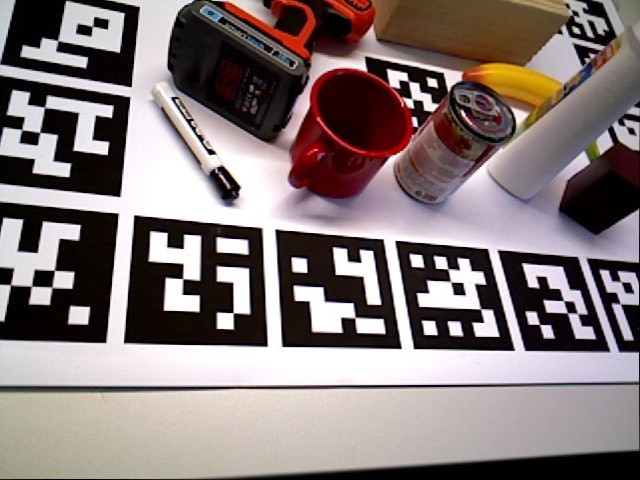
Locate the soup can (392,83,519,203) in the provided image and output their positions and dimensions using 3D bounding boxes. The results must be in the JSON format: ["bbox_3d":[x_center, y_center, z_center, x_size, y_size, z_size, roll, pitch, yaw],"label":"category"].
[{"bbox_3d":[0.118,-0.089,0.490,0.067,0.104,0.067,12,55,-18],"label":"soup can"}]

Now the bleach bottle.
[{"bbox_3d":[0.254,-0.138,0.488,0.068,0.257,0.100,30,54,-4],"label":"bleach bottle"}]

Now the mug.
[{"bbox_3d":[0.013,-0.087,0.464,0.093,0.083,0.114,43,59,2],"label":"mug"}]

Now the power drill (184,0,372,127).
[{"bbox_3d":[-0.052,-0.211,0.527,0.184,0.059,0.183,32,54,-8],"label":"power drill"}]

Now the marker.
[{"bbox_3d":[-0.106,-0.078,0.453,0.019,0.020,0.121,-27,77,-30],"label":"marker"}]

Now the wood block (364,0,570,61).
[{"bbox_3d":[0.164,-0.272,0.625,0.203,0.093,0.089,4,62,-20],"label":"wood block"}]

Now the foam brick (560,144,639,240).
[{"bbox_3d":[0.301,-0.048,0.568,0.052,0.080,0.050,33,53,0],"label":"foam brick"}]

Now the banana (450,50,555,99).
[{"bbox_3d":[0.240,-0.177,0.631,0.196,0.039,0.073,20,71,-14],"label":"banana"}]
